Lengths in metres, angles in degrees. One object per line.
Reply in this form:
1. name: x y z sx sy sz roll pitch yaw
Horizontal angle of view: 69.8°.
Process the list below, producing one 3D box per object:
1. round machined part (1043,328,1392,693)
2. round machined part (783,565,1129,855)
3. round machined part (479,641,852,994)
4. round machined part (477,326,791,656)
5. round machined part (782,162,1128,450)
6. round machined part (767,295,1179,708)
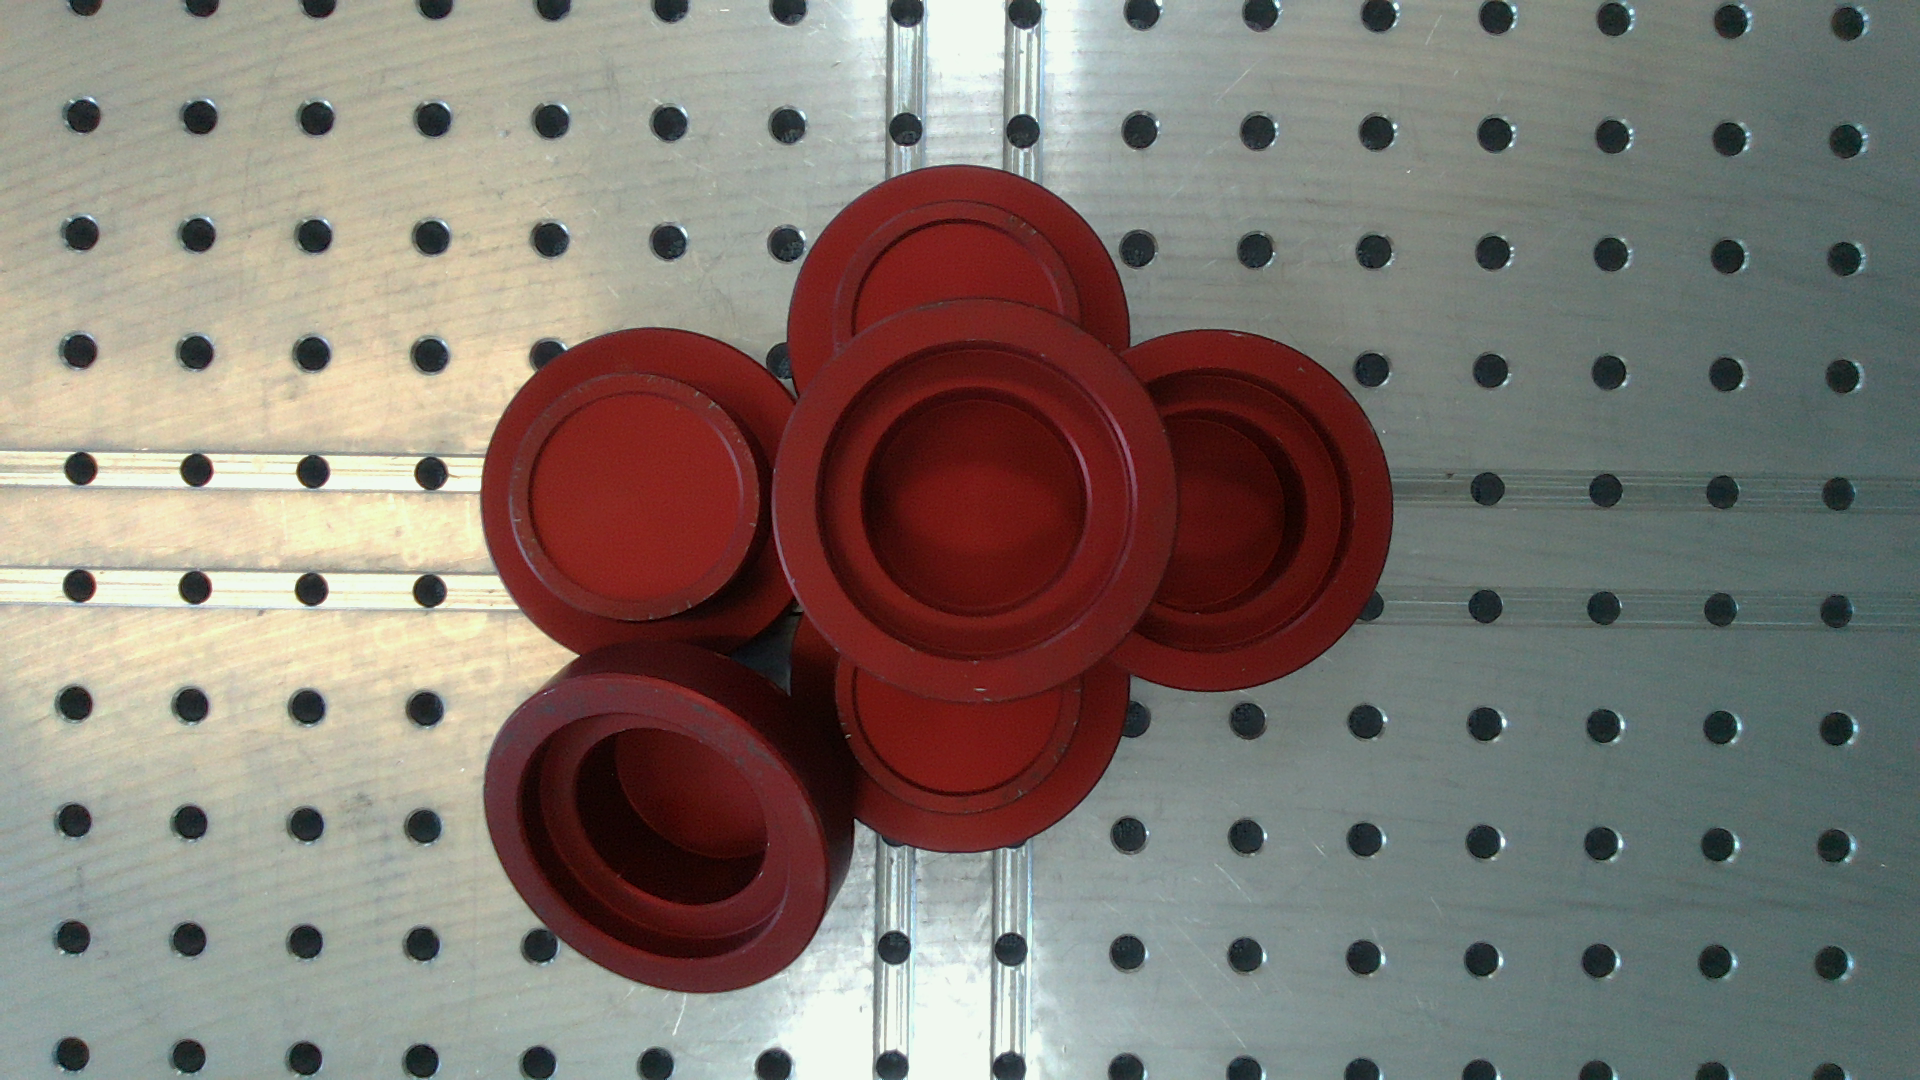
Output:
1. round machined part: 0.067 -0.008 0.389 0.098 0.042 0.098 0 90 0
2. round machined part: -0.001 0.040 0.389 0.098 0.042 0.098 0 90 0
3. round machined part: -0.076 0.071 0.376 0.098 0.042 0.098 5 114 13
4. round machined part: -0.088 -0.011 0.388 0.098 0.042 0.098 0 90 0
5. round machined part: -0.001 -0.058 0.389 0.098 0.042 0.098 0 90 0
6. round machined part: 0.003 -0.009 0.346 0.098 0.042 0.098 0 90 0
